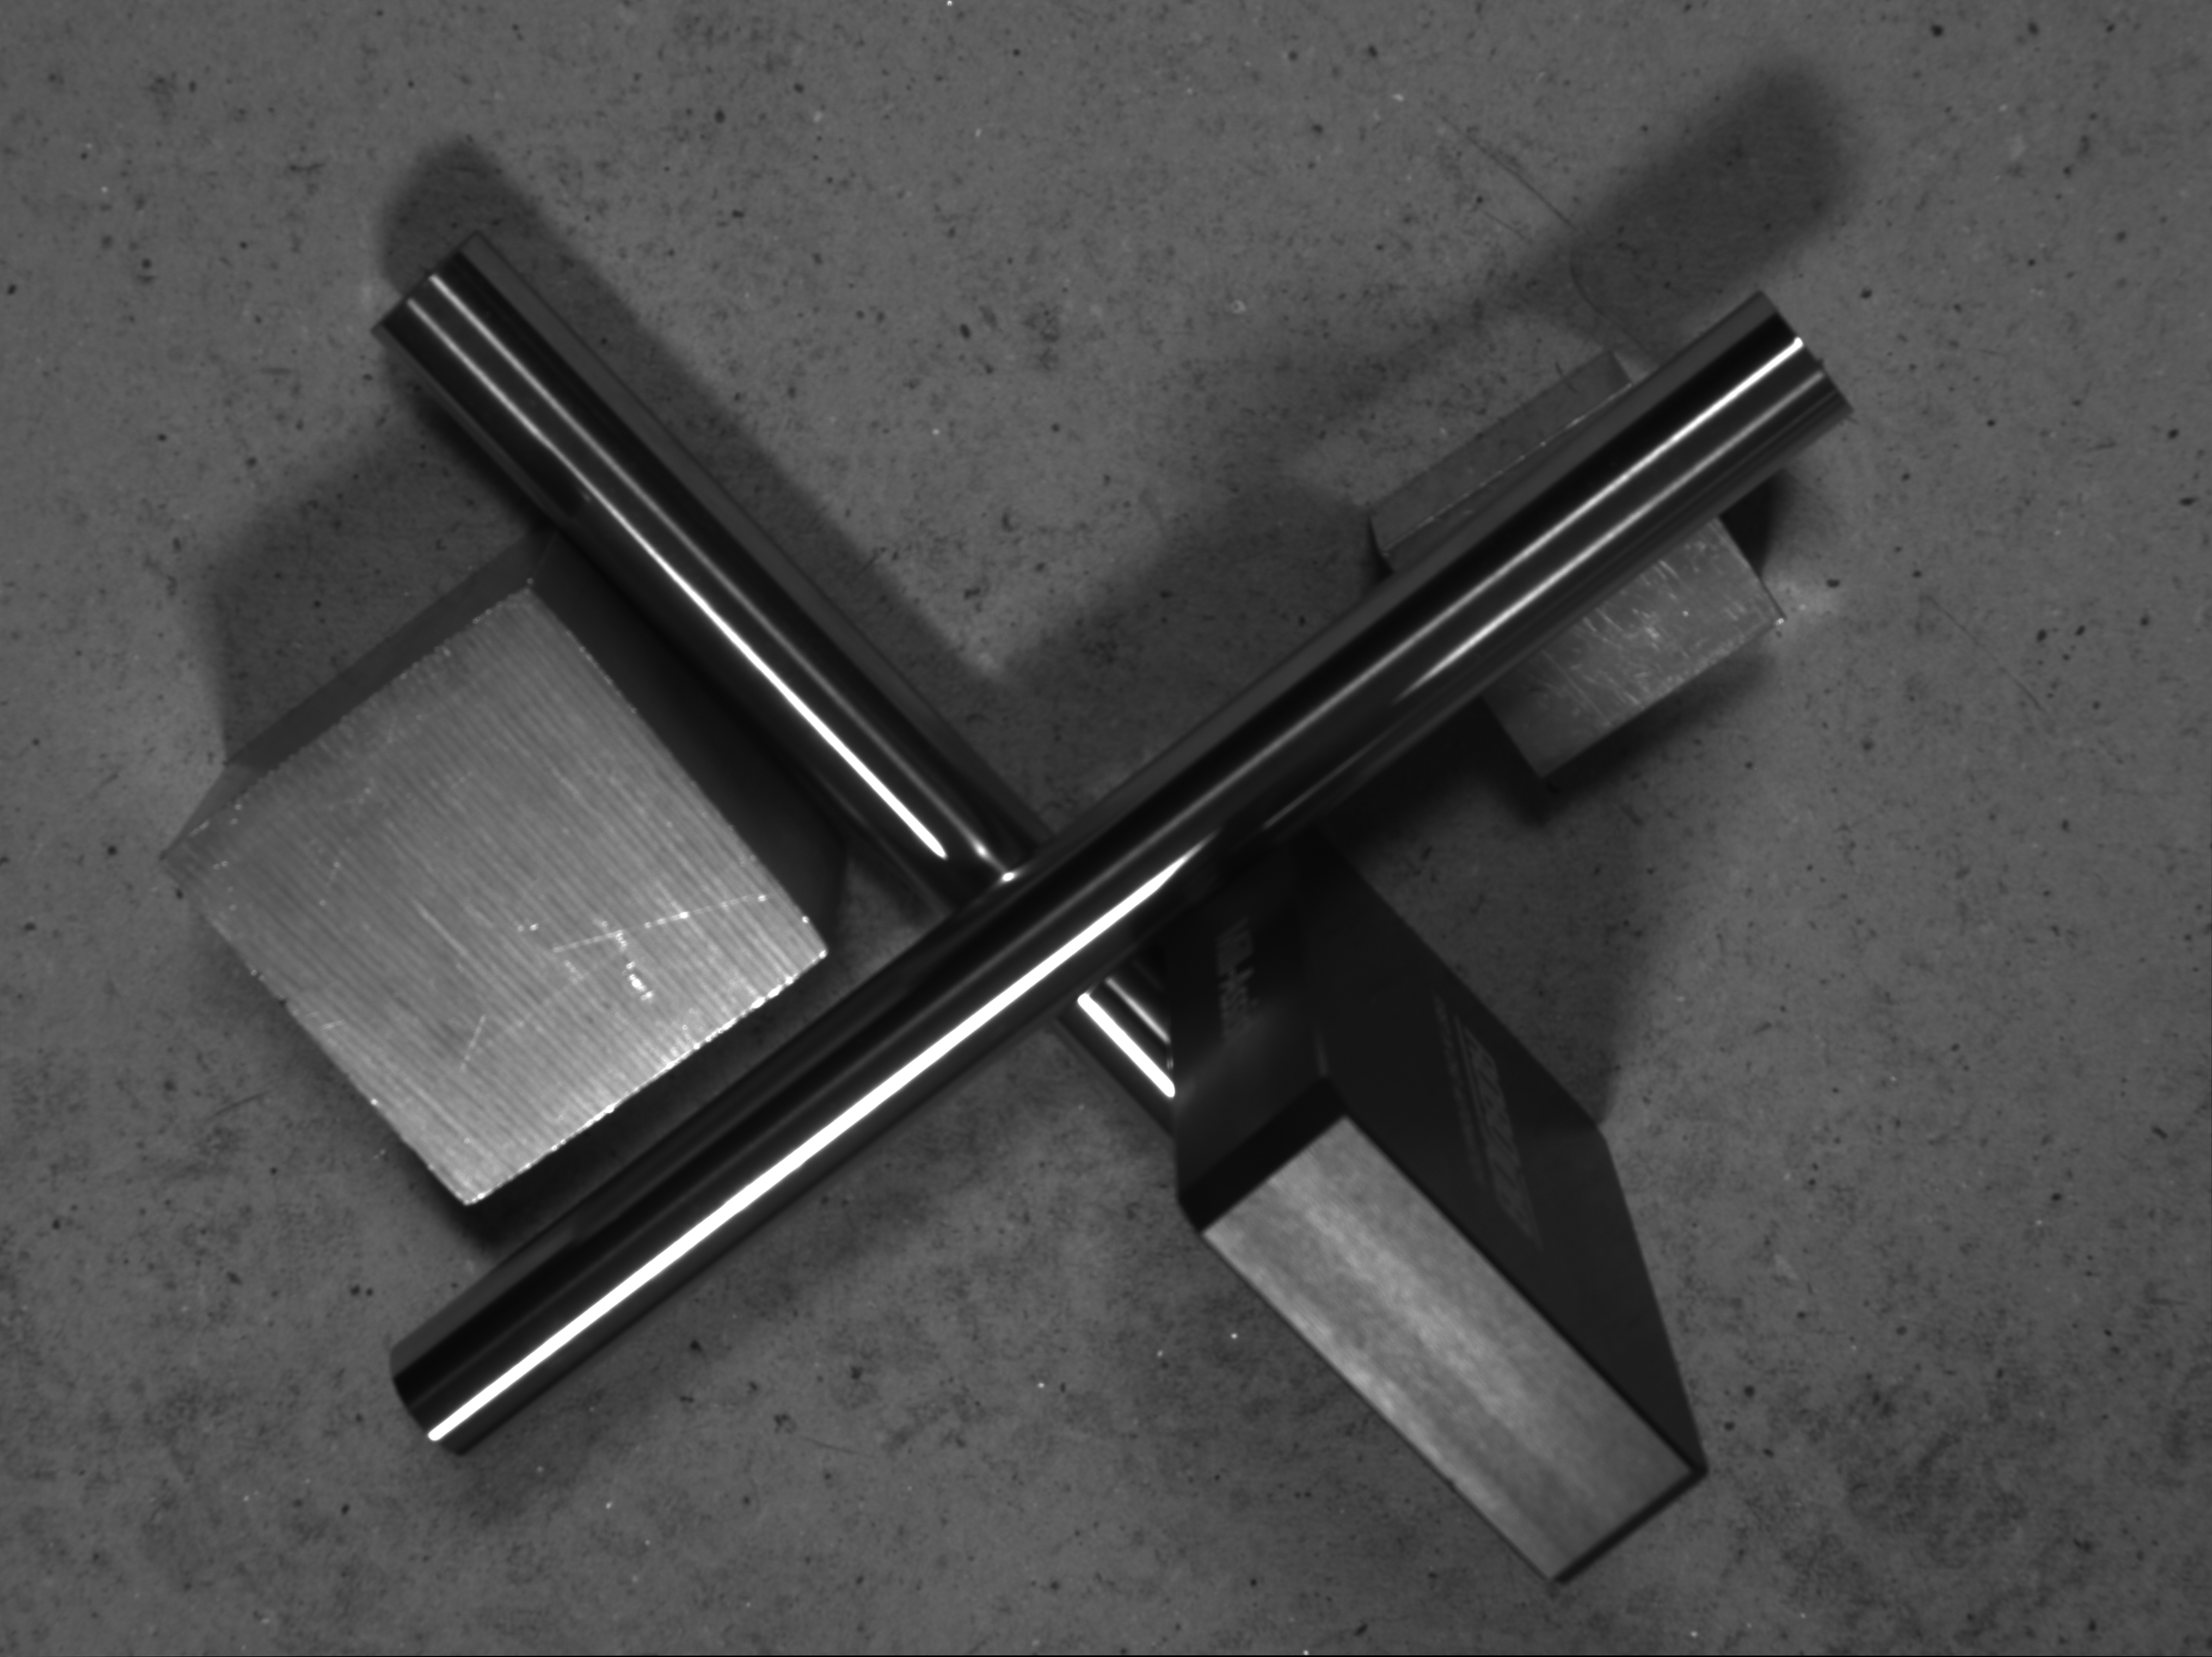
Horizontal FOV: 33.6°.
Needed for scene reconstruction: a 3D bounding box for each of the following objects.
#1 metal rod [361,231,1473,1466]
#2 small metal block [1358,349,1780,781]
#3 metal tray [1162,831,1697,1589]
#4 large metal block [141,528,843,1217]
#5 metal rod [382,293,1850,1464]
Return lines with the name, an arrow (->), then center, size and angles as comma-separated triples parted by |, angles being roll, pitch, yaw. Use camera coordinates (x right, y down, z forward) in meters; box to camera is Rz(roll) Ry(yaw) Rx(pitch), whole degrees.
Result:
metal rod -> -0.015, 0.014, 0.648 | 0.025, 0.025, 0.300 | -40, 106, 13
small metal block -> 0.079, -0.045, 0.628 | 0.050, 0.025, 0.050 | -34, 107, 11
metal tray -> 0.050, 0.057, 0.608 | 0.030, 0.130, 0.090 | -40, 105, 14
large metal block -> -0.103, 0.005, 0.629 | 0.080, 0.050, 0.080 | -35, 107, 11
metal rod -> -0.004, 0.013, 0.621 | 0.300, 0.025, 0.025 | -38, 106, 12
